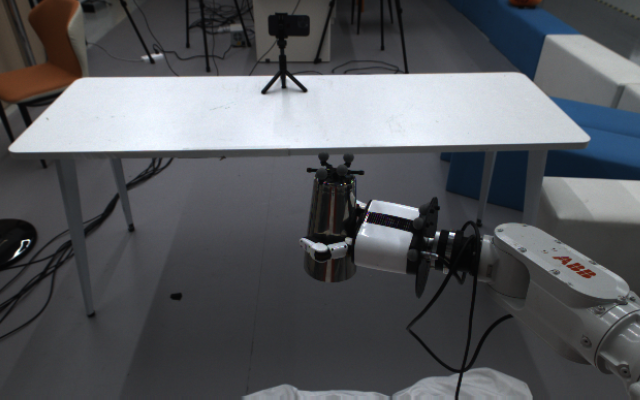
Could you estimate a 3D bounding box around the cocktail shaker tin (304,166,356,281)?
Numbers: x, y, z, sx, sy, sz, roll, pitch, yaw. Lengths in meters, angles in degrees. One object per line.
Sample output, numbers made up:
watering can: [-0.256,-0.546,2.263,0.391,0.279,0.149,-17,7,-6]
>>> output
cocktail shaker tin: [0.022,0.037,0.790,0.093,0.170,0.093,2,28,-1]
